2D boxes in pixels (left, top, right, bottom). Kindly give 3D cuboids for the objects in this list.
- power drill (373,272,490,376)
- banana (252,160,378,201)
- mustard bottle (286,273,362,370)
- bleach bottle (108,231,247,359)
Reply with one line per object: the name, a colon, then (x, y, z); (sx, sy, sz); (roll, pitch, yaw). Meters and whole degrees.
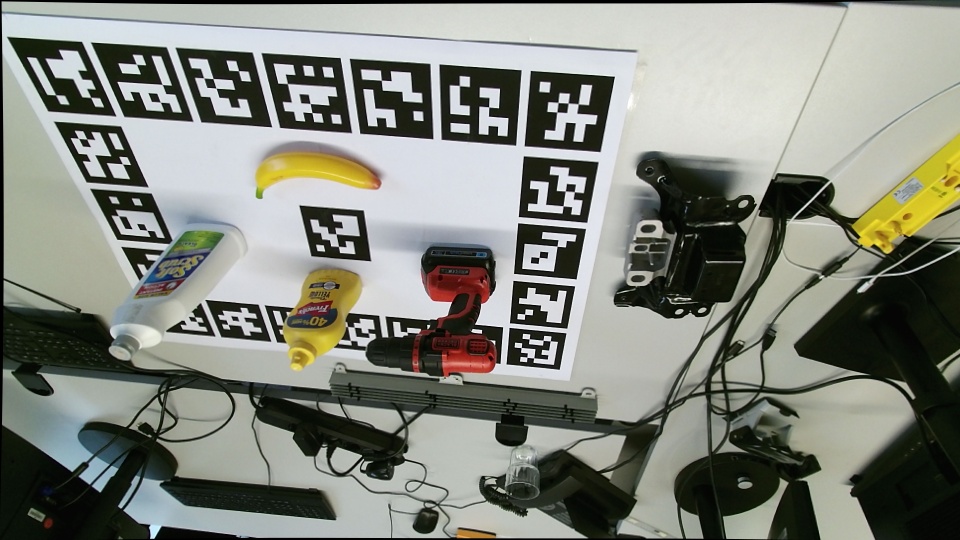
power drill: (-0.076, 0.081, 0.792); (0.185, 0.186, 0.057); (-2, 127, 4)
banana: (-0.248, -0.123, 0.776); (0.198, 0.038, 0.074); (-1, 126, 5)
mustard bottle: (-0.263, 0.084, 0.858); (0.096, 0.191, 0.058); (-1, 128, 10)
bleach bottle: (-0.456, 0.038, 0.806); (0.103, 0.250, 0.068); (11, 128, -1)
